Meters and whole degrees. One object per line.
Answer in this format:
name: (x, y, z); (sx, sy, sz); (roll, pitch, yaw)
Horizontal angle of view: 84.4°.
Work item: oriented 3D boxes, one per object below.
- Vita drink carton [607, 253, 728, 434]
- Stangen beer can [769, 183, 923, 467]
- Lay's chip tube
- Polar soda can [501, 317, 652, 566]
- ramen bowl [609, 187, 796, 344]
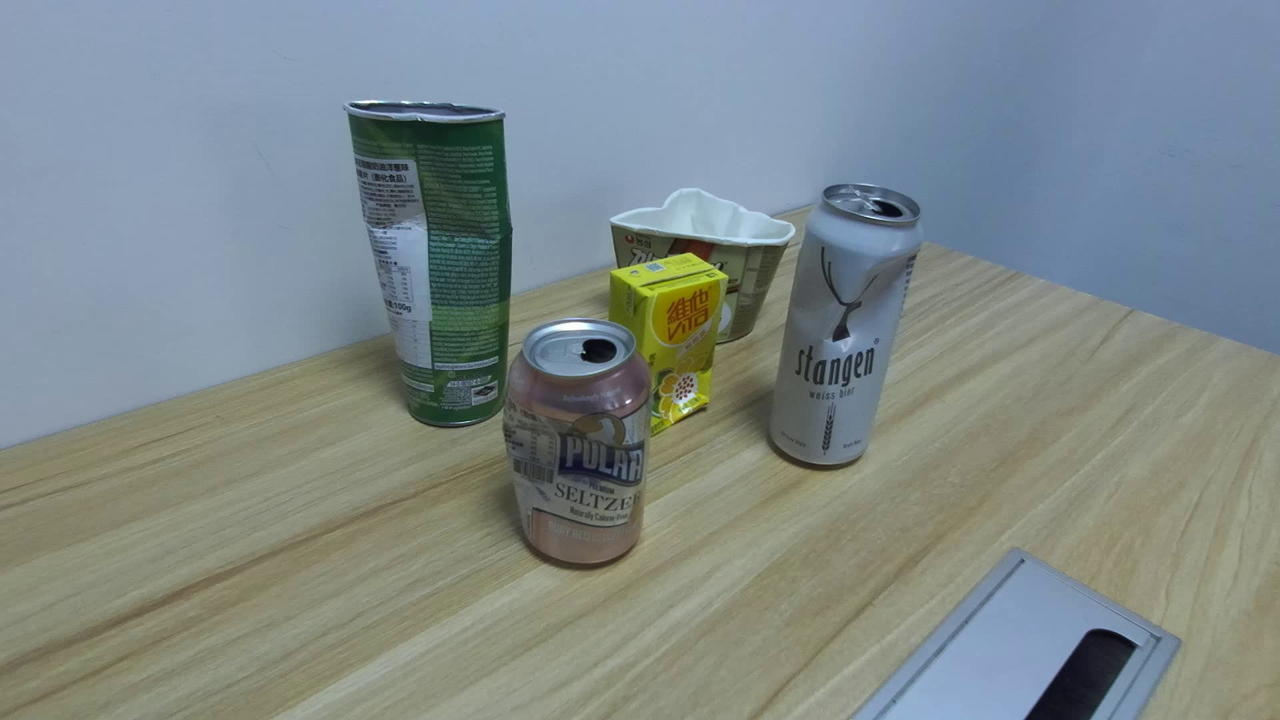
Vita drink carton: (0.020, -0.010, 0.467); (0.077, 0.109, 0.043); (-18, 37, -30)
Stangen beer can: (0.123, -0.018, 0.426); (0.070, 0.173, 0.069); (7, 32, 6)
Lay's chip tube: (-0.125, -0.056, 0.449); (0.075, 0.199, 0.068); (-19, 39, -31)
Polar soda can: (-0.028, 0.045, 0.364); (0.067, 0.122, 0.074); (-19, 35, -31)
ramen bowl: (0.057, -0.077, 0.592); (0.133, 0.097, 0.114); (21, 36, 28)
